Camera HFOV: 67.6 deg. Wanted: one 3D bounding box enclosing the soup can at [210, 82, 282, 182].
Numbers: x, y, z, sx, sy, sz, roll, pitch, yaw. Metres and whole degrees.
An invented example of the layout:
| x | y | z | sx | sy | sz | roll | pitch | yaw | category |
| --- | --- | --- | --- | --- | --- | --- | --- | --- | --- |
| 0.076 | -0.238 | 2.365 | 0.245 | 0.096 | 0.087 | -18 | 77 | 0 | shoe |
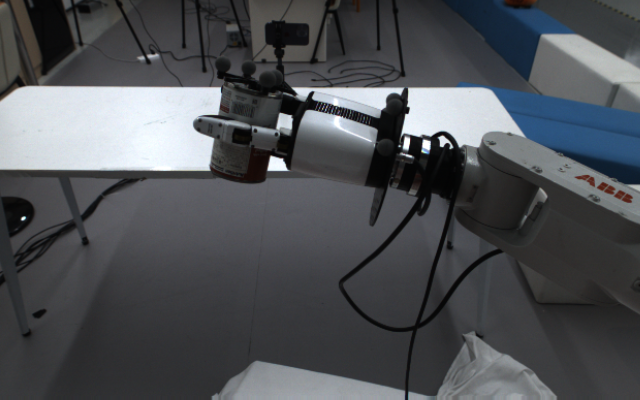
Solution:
| x | y | z | sx | sy | sz | roll | pitch | yaw | category |
| --- | --- | --- | --- | --- | --- | --- | --- | --- | --- |
| -0.083 | -0.077 | 0.549 | 0.067 | 0.101 | 0.067 | 13 | 18 | -4 | soup can |
